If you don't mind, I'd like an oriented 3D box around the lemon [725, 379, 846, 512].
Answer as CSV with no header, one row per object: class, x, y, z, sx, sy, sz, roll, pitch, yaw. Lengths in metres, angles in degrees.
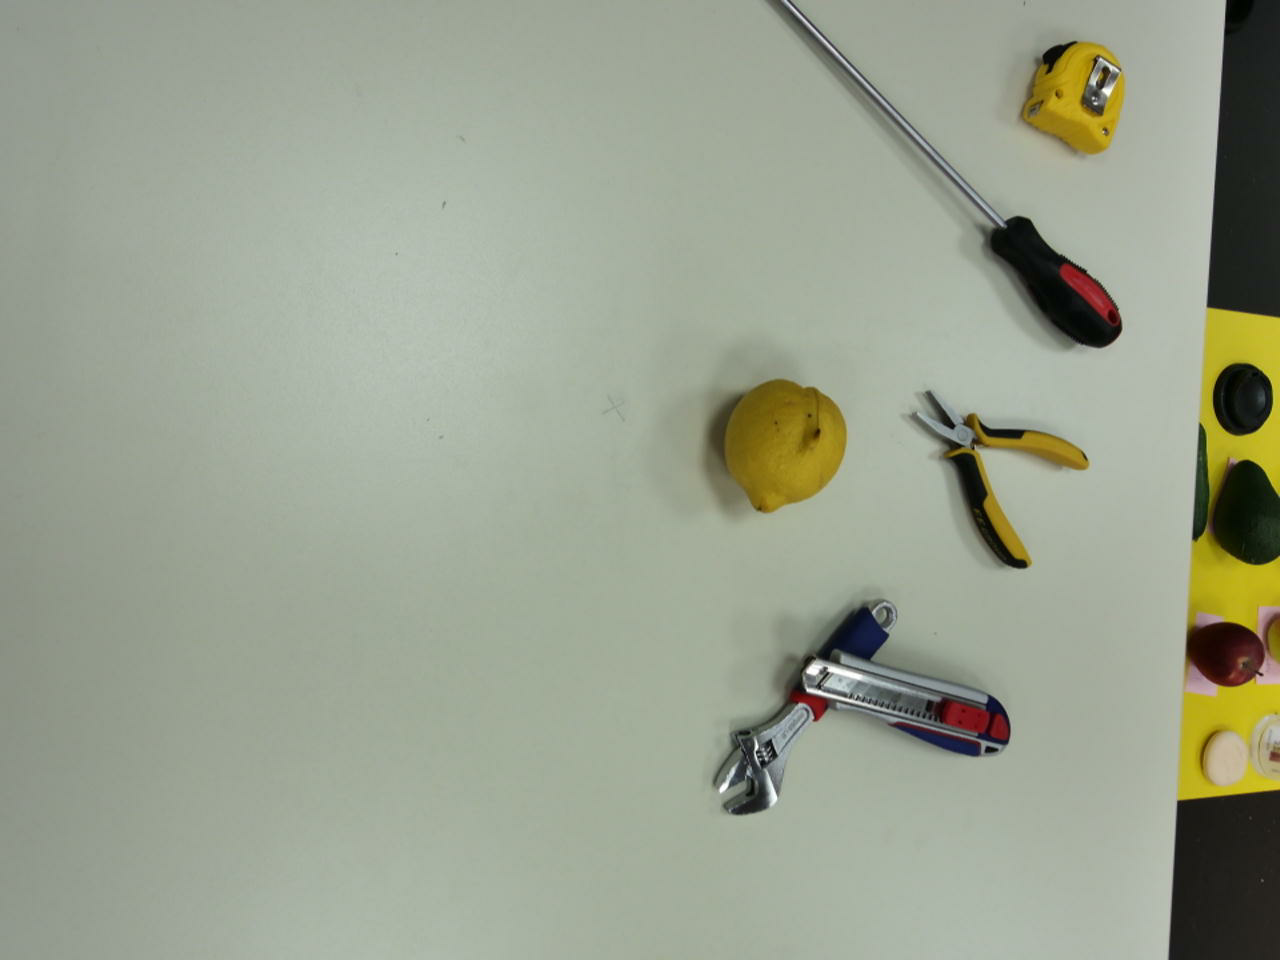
lemon,0.084,-0.022,0.569,0.071,0.071,0.070,-31,102,-19
